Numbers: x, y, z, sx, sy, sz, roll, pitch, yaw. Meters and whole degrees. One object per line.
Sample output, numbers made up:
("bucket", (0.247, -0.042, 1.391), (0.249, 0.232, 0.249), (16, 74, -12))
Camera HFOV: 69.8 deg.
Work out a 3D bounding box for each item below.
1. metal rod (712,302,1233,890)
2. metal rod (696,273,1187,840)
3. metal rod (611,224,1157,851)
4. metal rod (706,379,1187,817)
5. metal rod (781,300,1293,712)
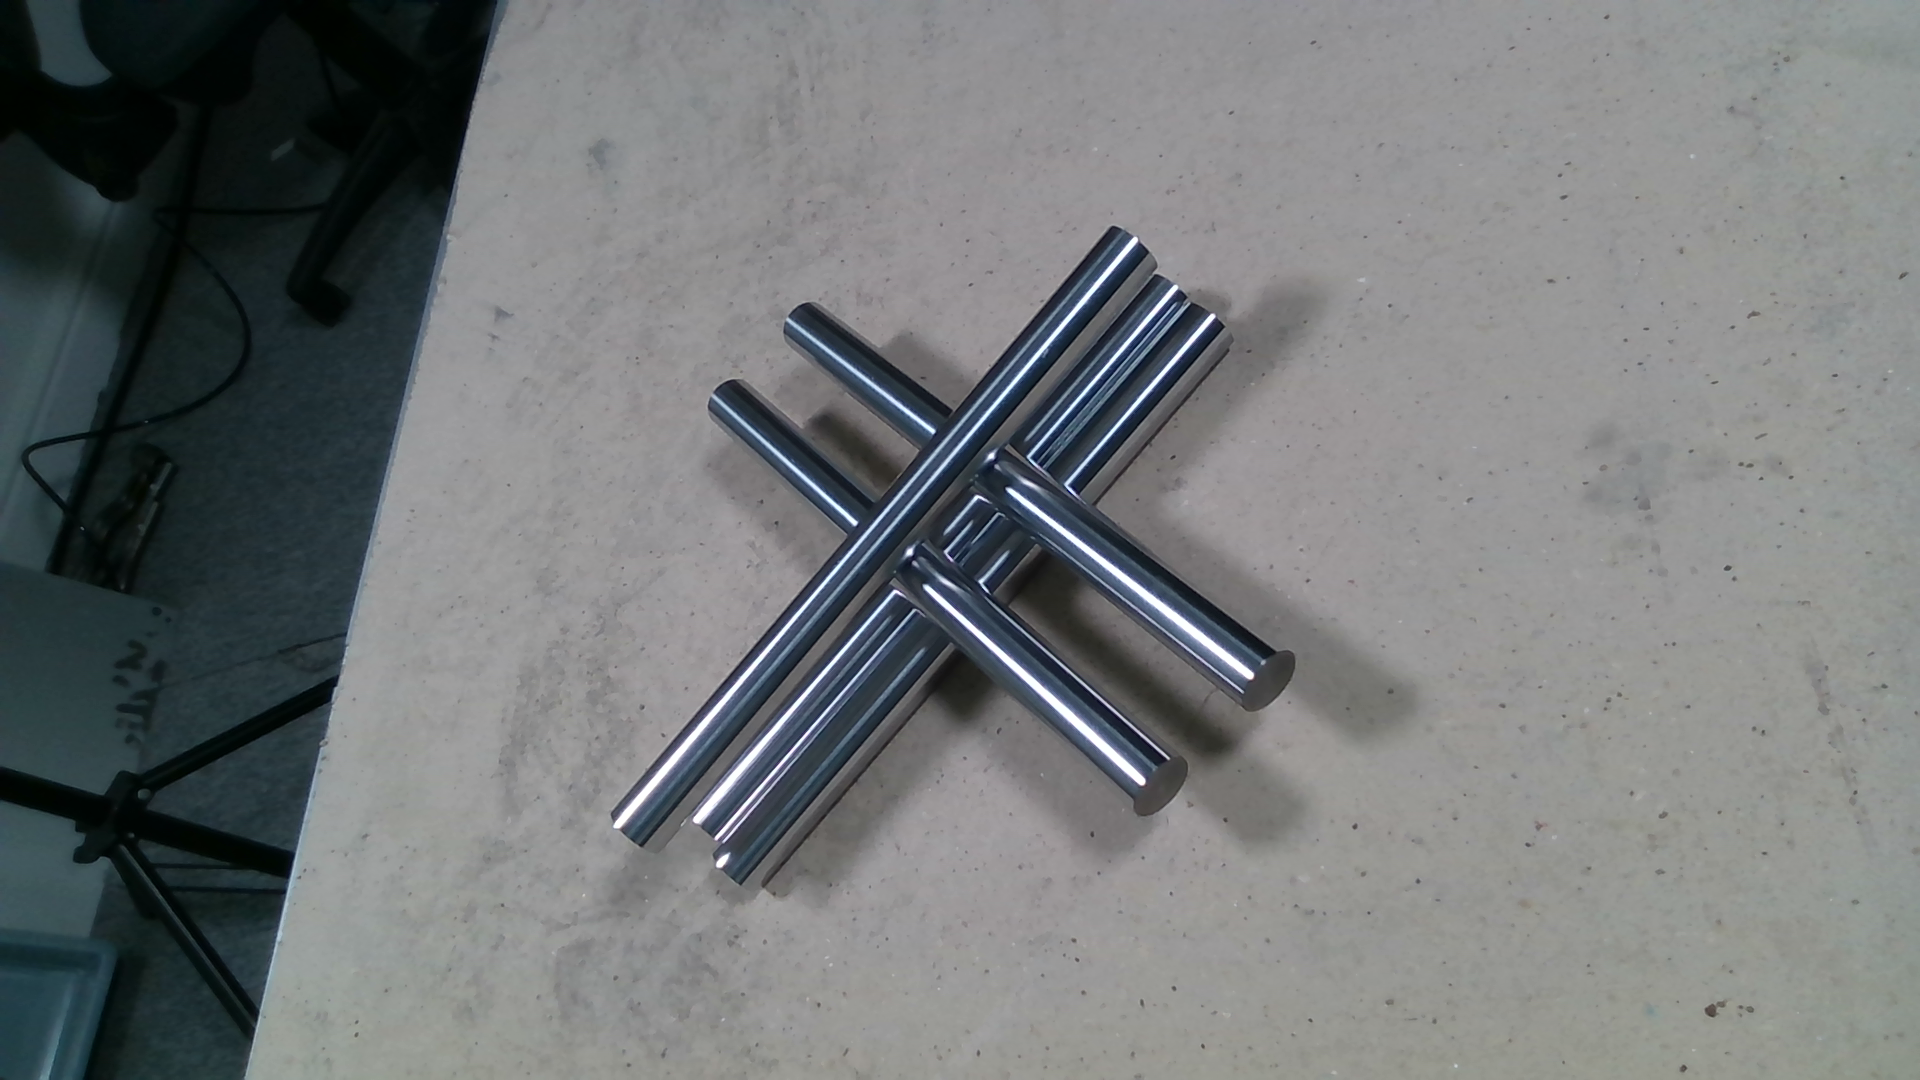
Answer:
("metal rod", (0.005, 0.023, 0.570), (0.300, 0.025, 0.025), (-49, 51, 0))
("metal rod", (-0.007, 0.008, 0.586), (0.300, 0.025, 0.025), (-49, 51, 0))
("metal rod", (-0.030, -0.001, 0.539), (0.300, 0.025, 0.025), (-50, 51, 0))
("metal rod", (-0.021, 0.009, 0.561), (0.025, 0.025, 0.299), (-50, 51, 0))
("metal rod", (0.015, -0.027, 0.558), (0.025, 0.025, 0.299), (-50, 51, 0))
